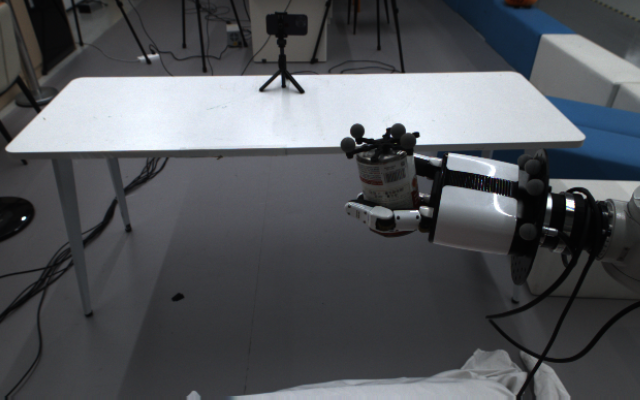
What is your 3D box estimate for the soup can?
[{"bbox_3d":[0.086,-0.016,0.579,0.067,0.101,0.067,-11,28,6],"label":"soup can"}]
